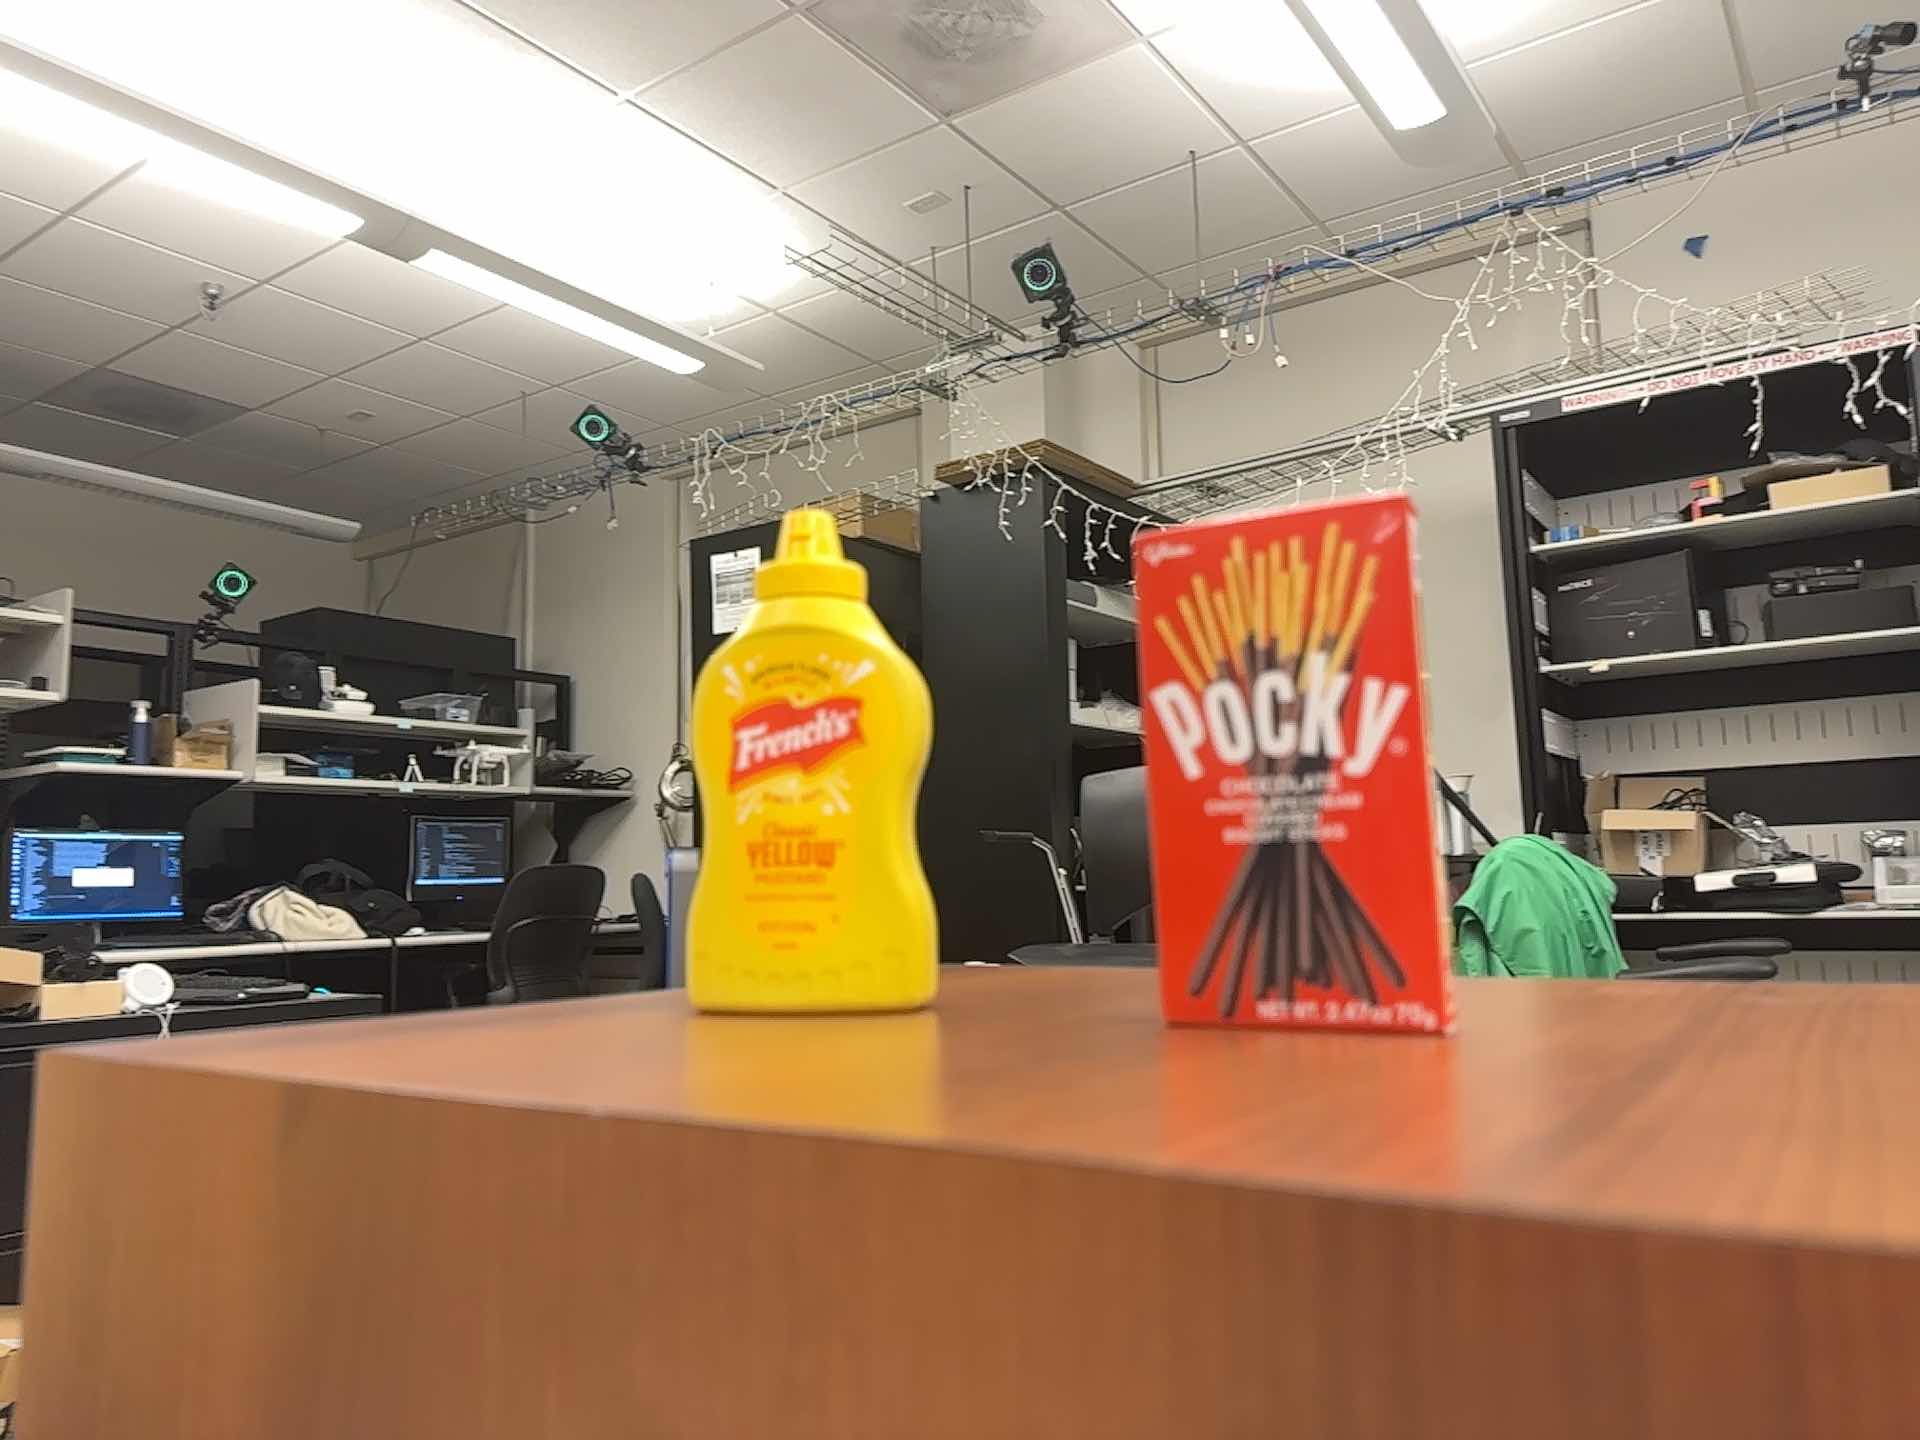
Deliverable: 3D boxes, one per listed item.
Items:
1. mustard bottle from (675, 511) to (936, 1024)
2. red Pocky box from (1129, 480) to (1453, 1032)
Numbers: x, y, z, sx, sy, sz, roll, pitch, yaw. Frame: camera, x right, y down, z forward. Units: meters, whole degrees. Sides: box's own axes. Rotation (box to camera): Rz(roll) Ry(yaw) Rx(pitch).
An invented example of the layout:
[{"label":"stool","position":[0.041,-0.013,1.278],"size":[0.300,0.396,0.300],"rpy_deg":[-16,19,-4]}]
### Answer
[{"label":"mustard bottle","position":[-0.056,0.014,0.482],"size":[0.092,0.184,0.054],"rpy_deg":[-4,-11,17]},{"label":"red Pocky box","position":[0.094,0.012,0.395],"size":[0.083,0.155,0.028],"rpy_deg":[-7,-11,29]}]
